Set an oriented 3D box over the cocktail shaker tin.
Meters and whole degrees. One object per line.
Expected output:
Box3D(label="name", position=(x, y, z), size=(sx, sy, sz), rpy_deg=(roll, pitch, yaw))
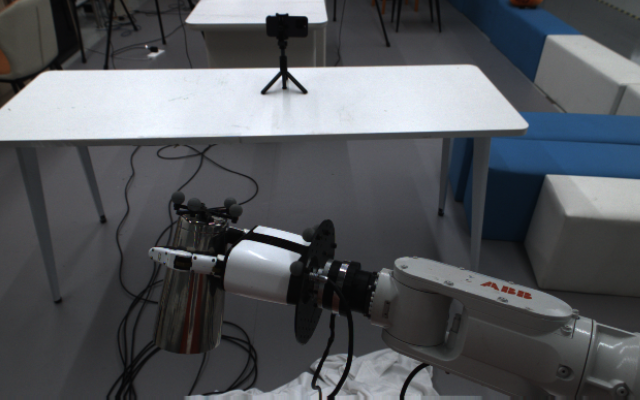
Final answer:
Box3D(label="cocktail shaker tin", position=(-0.164, 0.104, 0.650), size=(0.093, 0.170, 0.093), rpy_deg=(10, 10, -2))
